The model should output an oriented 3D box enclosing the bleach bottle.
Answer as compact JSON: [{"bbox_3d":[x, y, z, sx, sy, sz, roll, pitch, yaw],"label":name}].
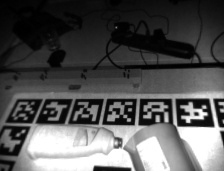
[{"bbox_3d":[-0.105,0.158,0.606,0.250,0.068,0.102,-2,55,7],"label":"bleach bottle"}]

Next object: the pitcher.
[{"bbox_3d":[0.133,0.225,0.480,0.191,0.133,0.240,3,48,-31],"label":"pitcher"}]
